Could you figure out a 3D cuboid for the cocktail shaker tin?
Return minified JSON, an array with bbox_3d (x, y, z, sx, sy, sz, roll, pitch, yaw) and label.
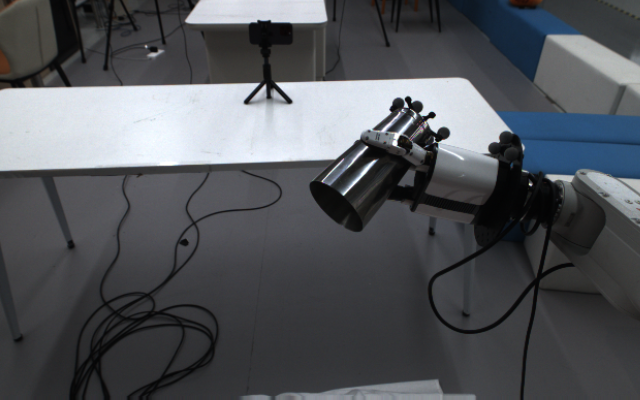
[{"bbox_3d":[0.076,-0.052,0.659,0.093,0.093,0.170,32,66,35],"label":"cocktail shaker tin"}]
